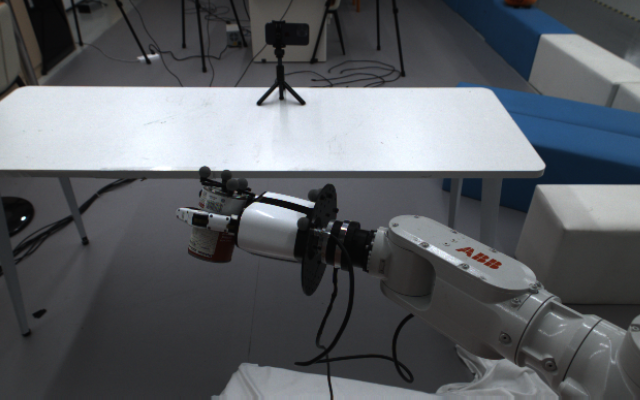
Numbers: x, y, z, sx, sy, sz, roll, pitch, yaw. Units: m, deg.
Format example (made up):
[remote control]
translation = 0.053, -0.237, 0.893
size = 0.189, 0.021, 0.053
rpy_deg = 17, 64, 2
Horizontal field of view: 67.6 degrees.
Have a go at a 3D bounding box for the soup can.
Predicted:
[soup can]
translation = -0.150, 0.035, 0.711
size = 0.067, 0.101, 0.067
rpy_deg = 16, 7, -2
